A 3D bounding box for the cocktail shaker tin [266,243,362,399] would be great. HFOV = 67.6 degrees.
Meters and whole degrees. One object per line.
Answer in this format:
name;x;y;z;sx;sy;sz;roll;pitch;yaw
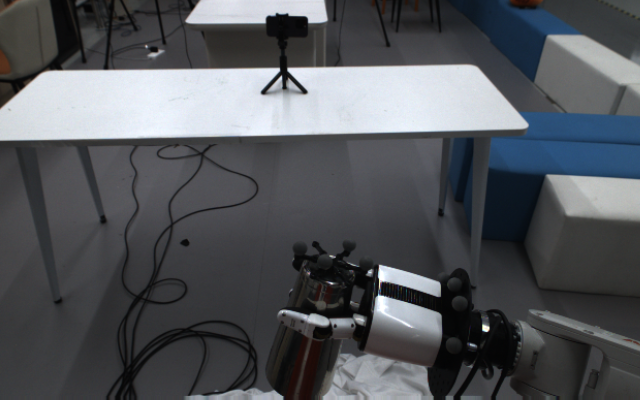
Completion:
cocktail shaker tin;-0.005;0.154;0.612;0.093;0.170;0.093;12;25;-6
